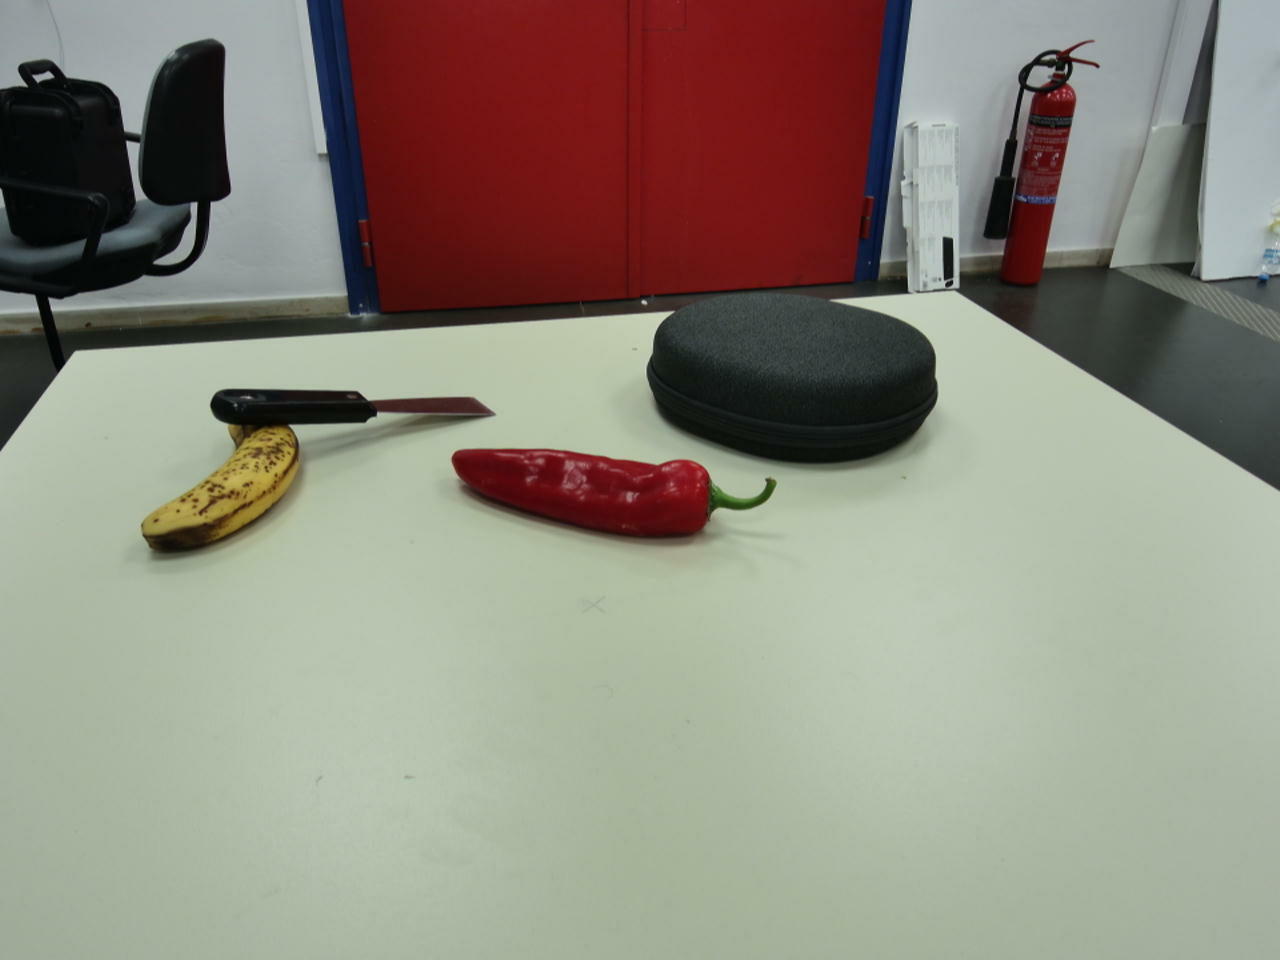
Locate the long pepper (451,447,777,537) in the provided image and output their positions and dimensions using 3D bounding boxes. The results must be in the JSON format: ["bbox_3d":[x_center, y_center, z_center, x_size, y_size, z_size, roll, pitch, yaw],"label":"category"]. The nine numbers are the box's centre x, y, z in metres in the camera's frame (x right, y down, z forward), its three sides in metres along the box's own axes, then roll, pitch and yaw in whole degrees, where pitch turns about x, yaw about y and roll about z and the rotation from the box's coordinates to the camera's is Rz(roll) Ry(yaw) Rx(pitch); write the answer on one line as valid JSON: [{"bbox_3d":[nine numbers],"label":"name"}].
[{"bbox_3d":[-0.024,0.003,0.599,0.211,0.043,0.050,9,28,17],"label":"long pepper"}]
